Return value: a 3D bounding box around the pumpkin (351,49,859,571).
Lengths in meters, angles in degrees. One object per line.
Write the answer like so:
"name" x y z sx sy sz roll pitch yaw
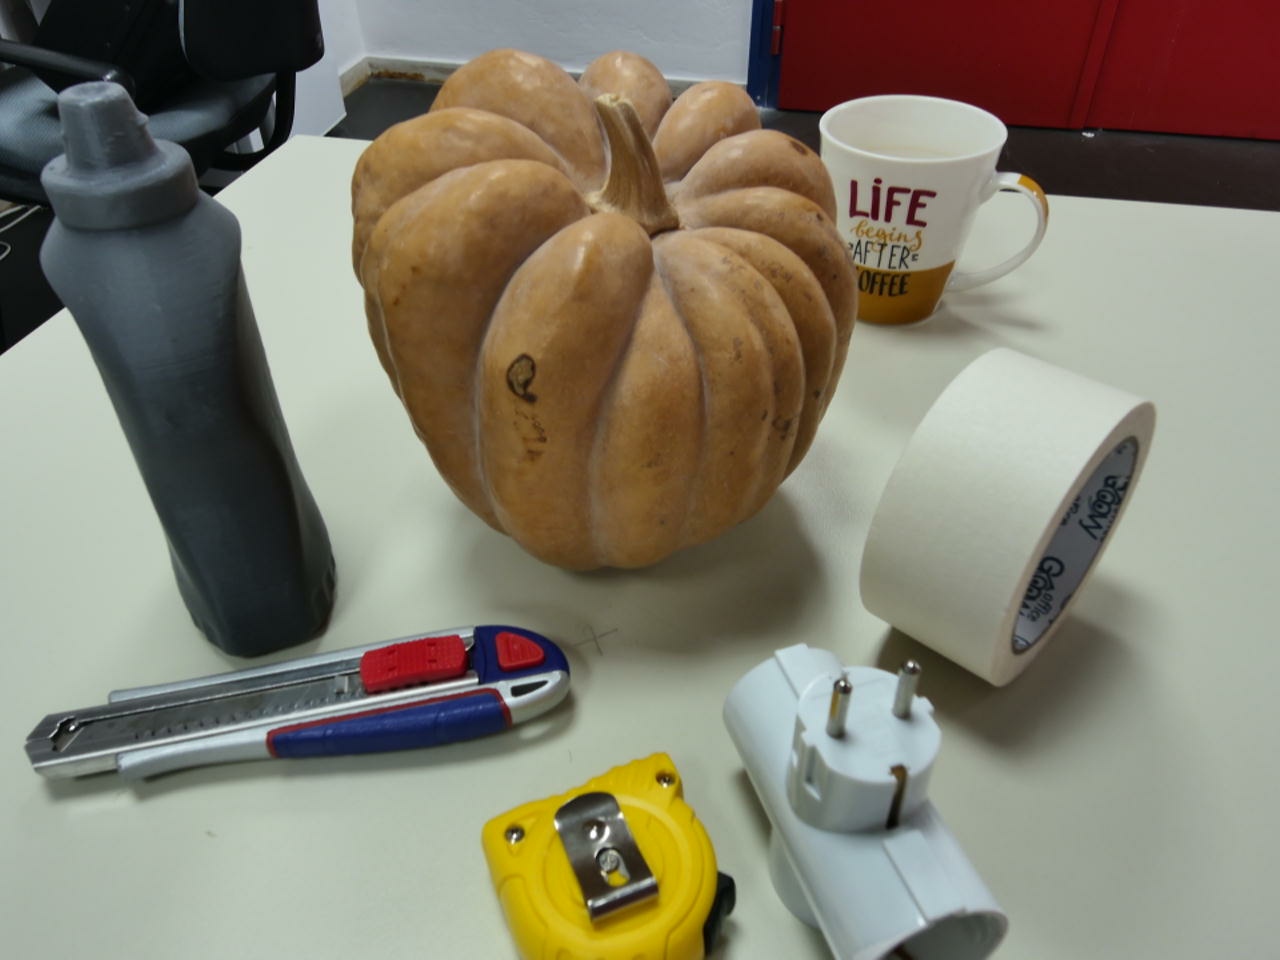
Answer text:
"pumpkin" -0.013 -0.064 0.388 0.199 0.177 0.198 0 38 0
